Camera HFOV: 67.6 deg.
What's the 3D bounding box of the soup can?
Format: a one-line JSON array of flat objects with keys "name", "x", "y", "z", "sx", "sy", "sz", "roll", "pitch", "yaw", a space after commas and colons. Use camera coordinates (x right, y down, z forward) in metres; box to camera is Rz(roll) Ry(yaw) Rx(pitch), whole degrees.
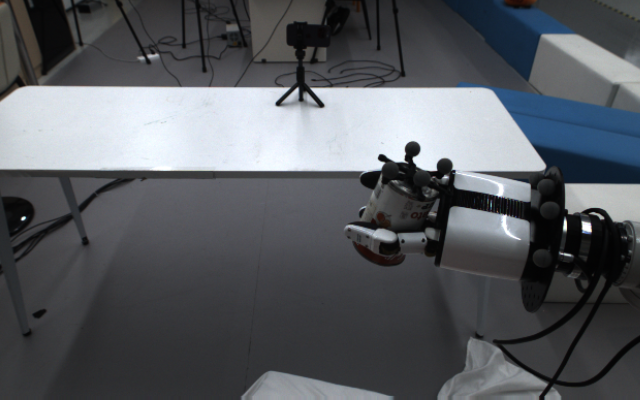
[{"name": "soup can", "x": 0.087, "y": 0.016, "z": 0.550, "sx": 0.067, "sy": 0.101, "sz": 0.067, "roll": 14, "pitch": 35, "yaw": -10}]
